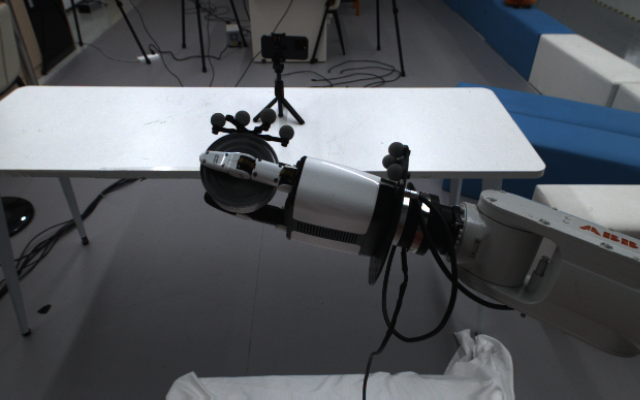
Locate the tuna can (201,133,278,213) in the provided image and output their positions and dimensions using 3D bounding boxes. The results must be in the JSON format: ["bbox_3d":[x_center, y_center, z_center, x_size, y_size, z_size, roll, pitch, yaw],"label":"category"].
[{"bbox_3d":[-0.087,-0.030,0.540,0.085,0.034,0.085,1,73,-3],"label":"tuna can"}]
